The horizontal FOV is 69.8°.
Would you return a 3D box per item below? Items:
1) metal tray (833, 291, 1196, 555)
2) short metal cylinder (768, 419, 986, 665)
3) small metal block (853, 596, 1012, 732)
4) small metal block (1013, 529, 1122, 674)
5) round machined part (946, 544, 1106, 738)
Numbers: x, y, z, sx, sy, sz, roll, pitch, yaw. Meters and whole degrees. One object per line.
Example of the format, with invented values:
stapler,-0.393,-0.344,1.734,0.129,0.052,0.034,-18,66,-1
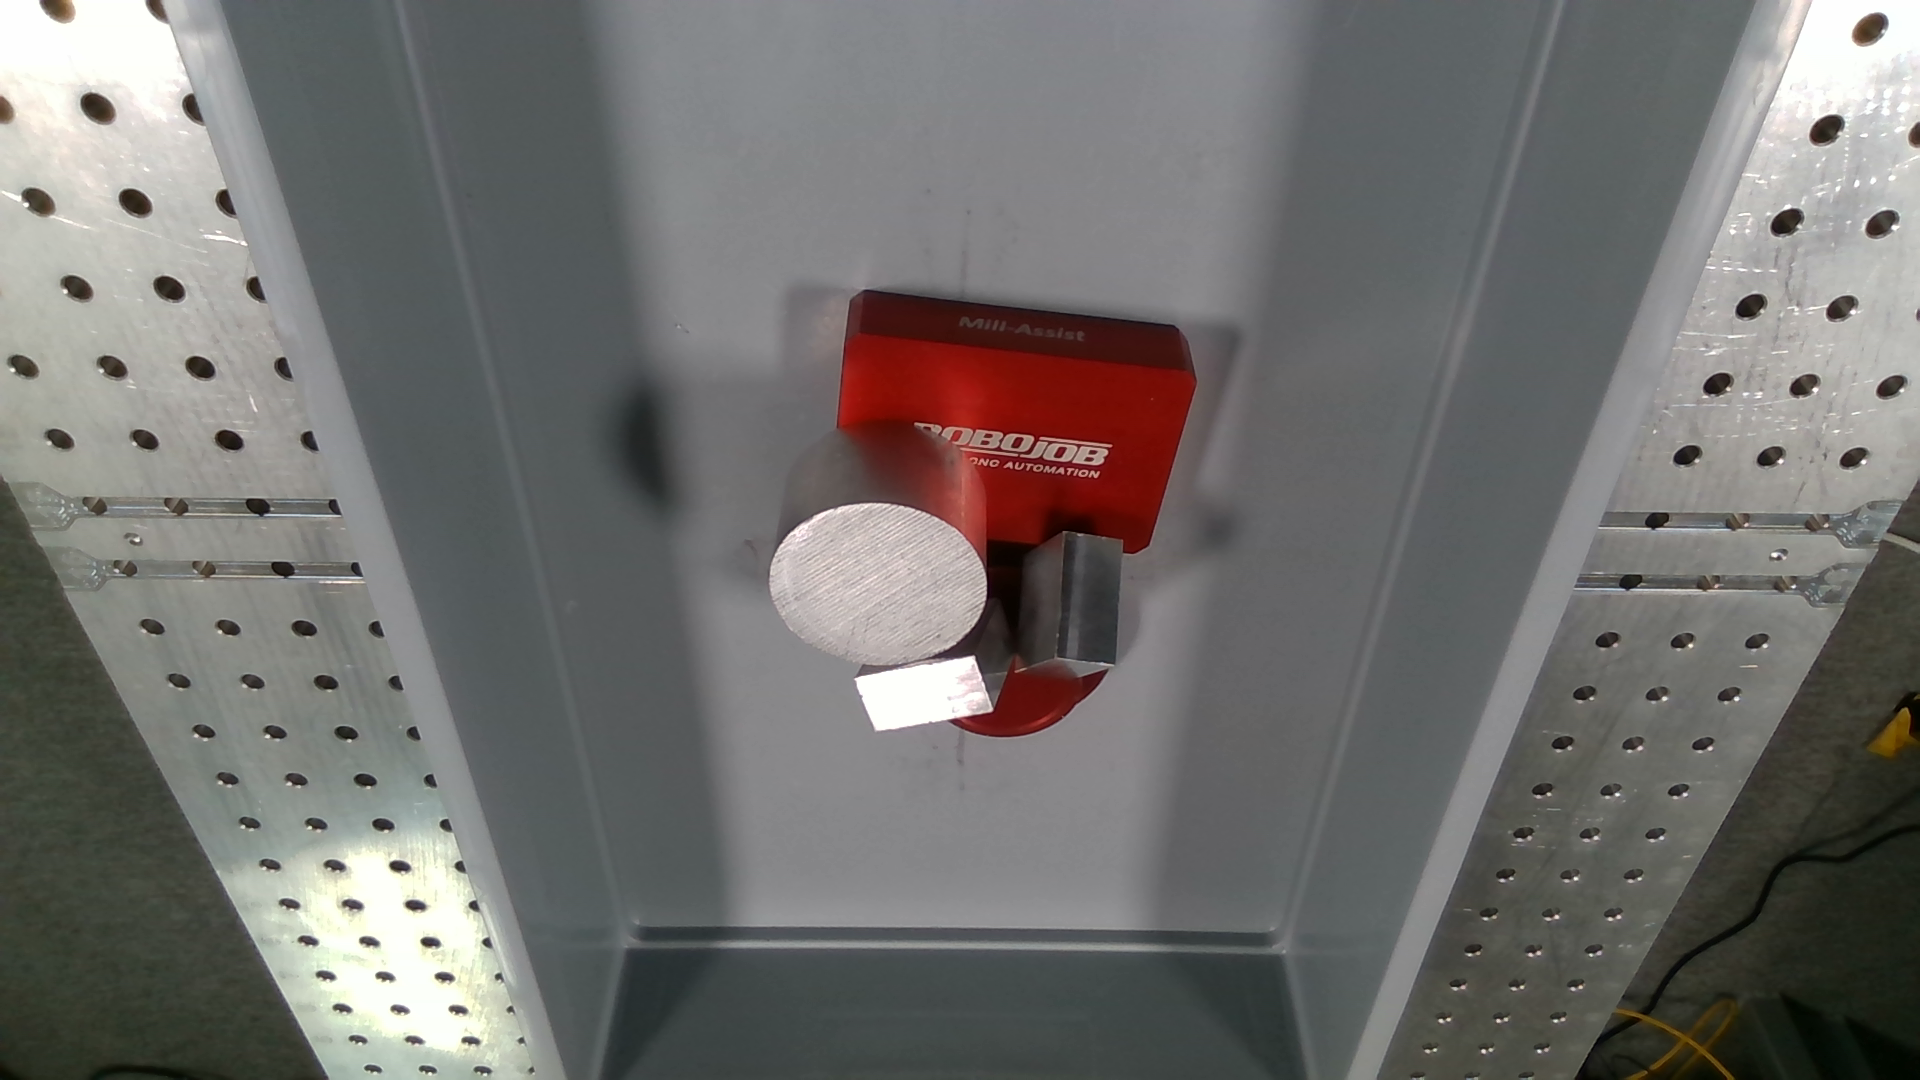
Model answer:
metal tray,0.017,-0.043,0.535,0.130,0.030,0.090,6,130,-5
short metal cylinder,-0.030,0.001,0.523,0.080,0.050,0.080,0,130,0
small metal block,-0.009,0.049,0.552,0.050,0.050,0.025,-13,110,18
small metal block,0.042,0.027,0.551,0.025,0.050,0.050,8,166,-14
round machined part,0.019,0.049,0.607,0.098,0.042,0.098,0,130,0
